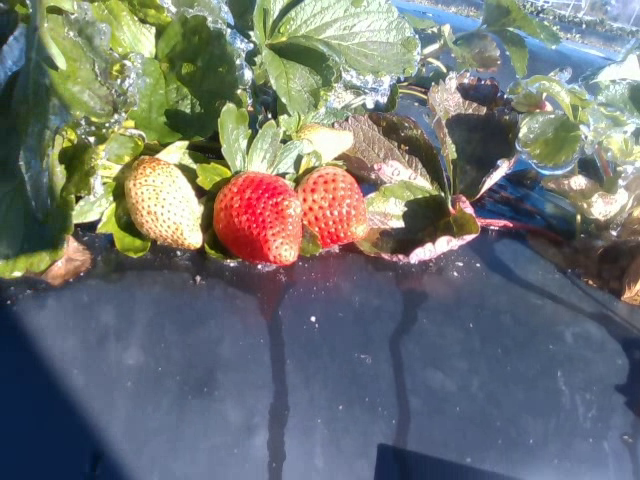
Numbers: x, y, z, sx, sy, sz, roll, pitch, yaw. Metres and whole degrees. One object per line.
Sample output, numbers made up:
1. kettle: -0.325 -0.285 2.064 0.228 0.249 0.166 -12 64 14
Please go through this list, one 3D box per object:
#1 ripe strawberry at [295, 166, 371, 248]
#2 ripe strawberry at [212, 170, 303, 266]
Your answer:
1. ripe strawberry: 0.007 -0.013 0.261 0.041 0.036 0.030 37 -26 15
2. ripe strawberry: -0.019 -0.003 0.232 0.037 0.039 0.052 -20 31 -18
